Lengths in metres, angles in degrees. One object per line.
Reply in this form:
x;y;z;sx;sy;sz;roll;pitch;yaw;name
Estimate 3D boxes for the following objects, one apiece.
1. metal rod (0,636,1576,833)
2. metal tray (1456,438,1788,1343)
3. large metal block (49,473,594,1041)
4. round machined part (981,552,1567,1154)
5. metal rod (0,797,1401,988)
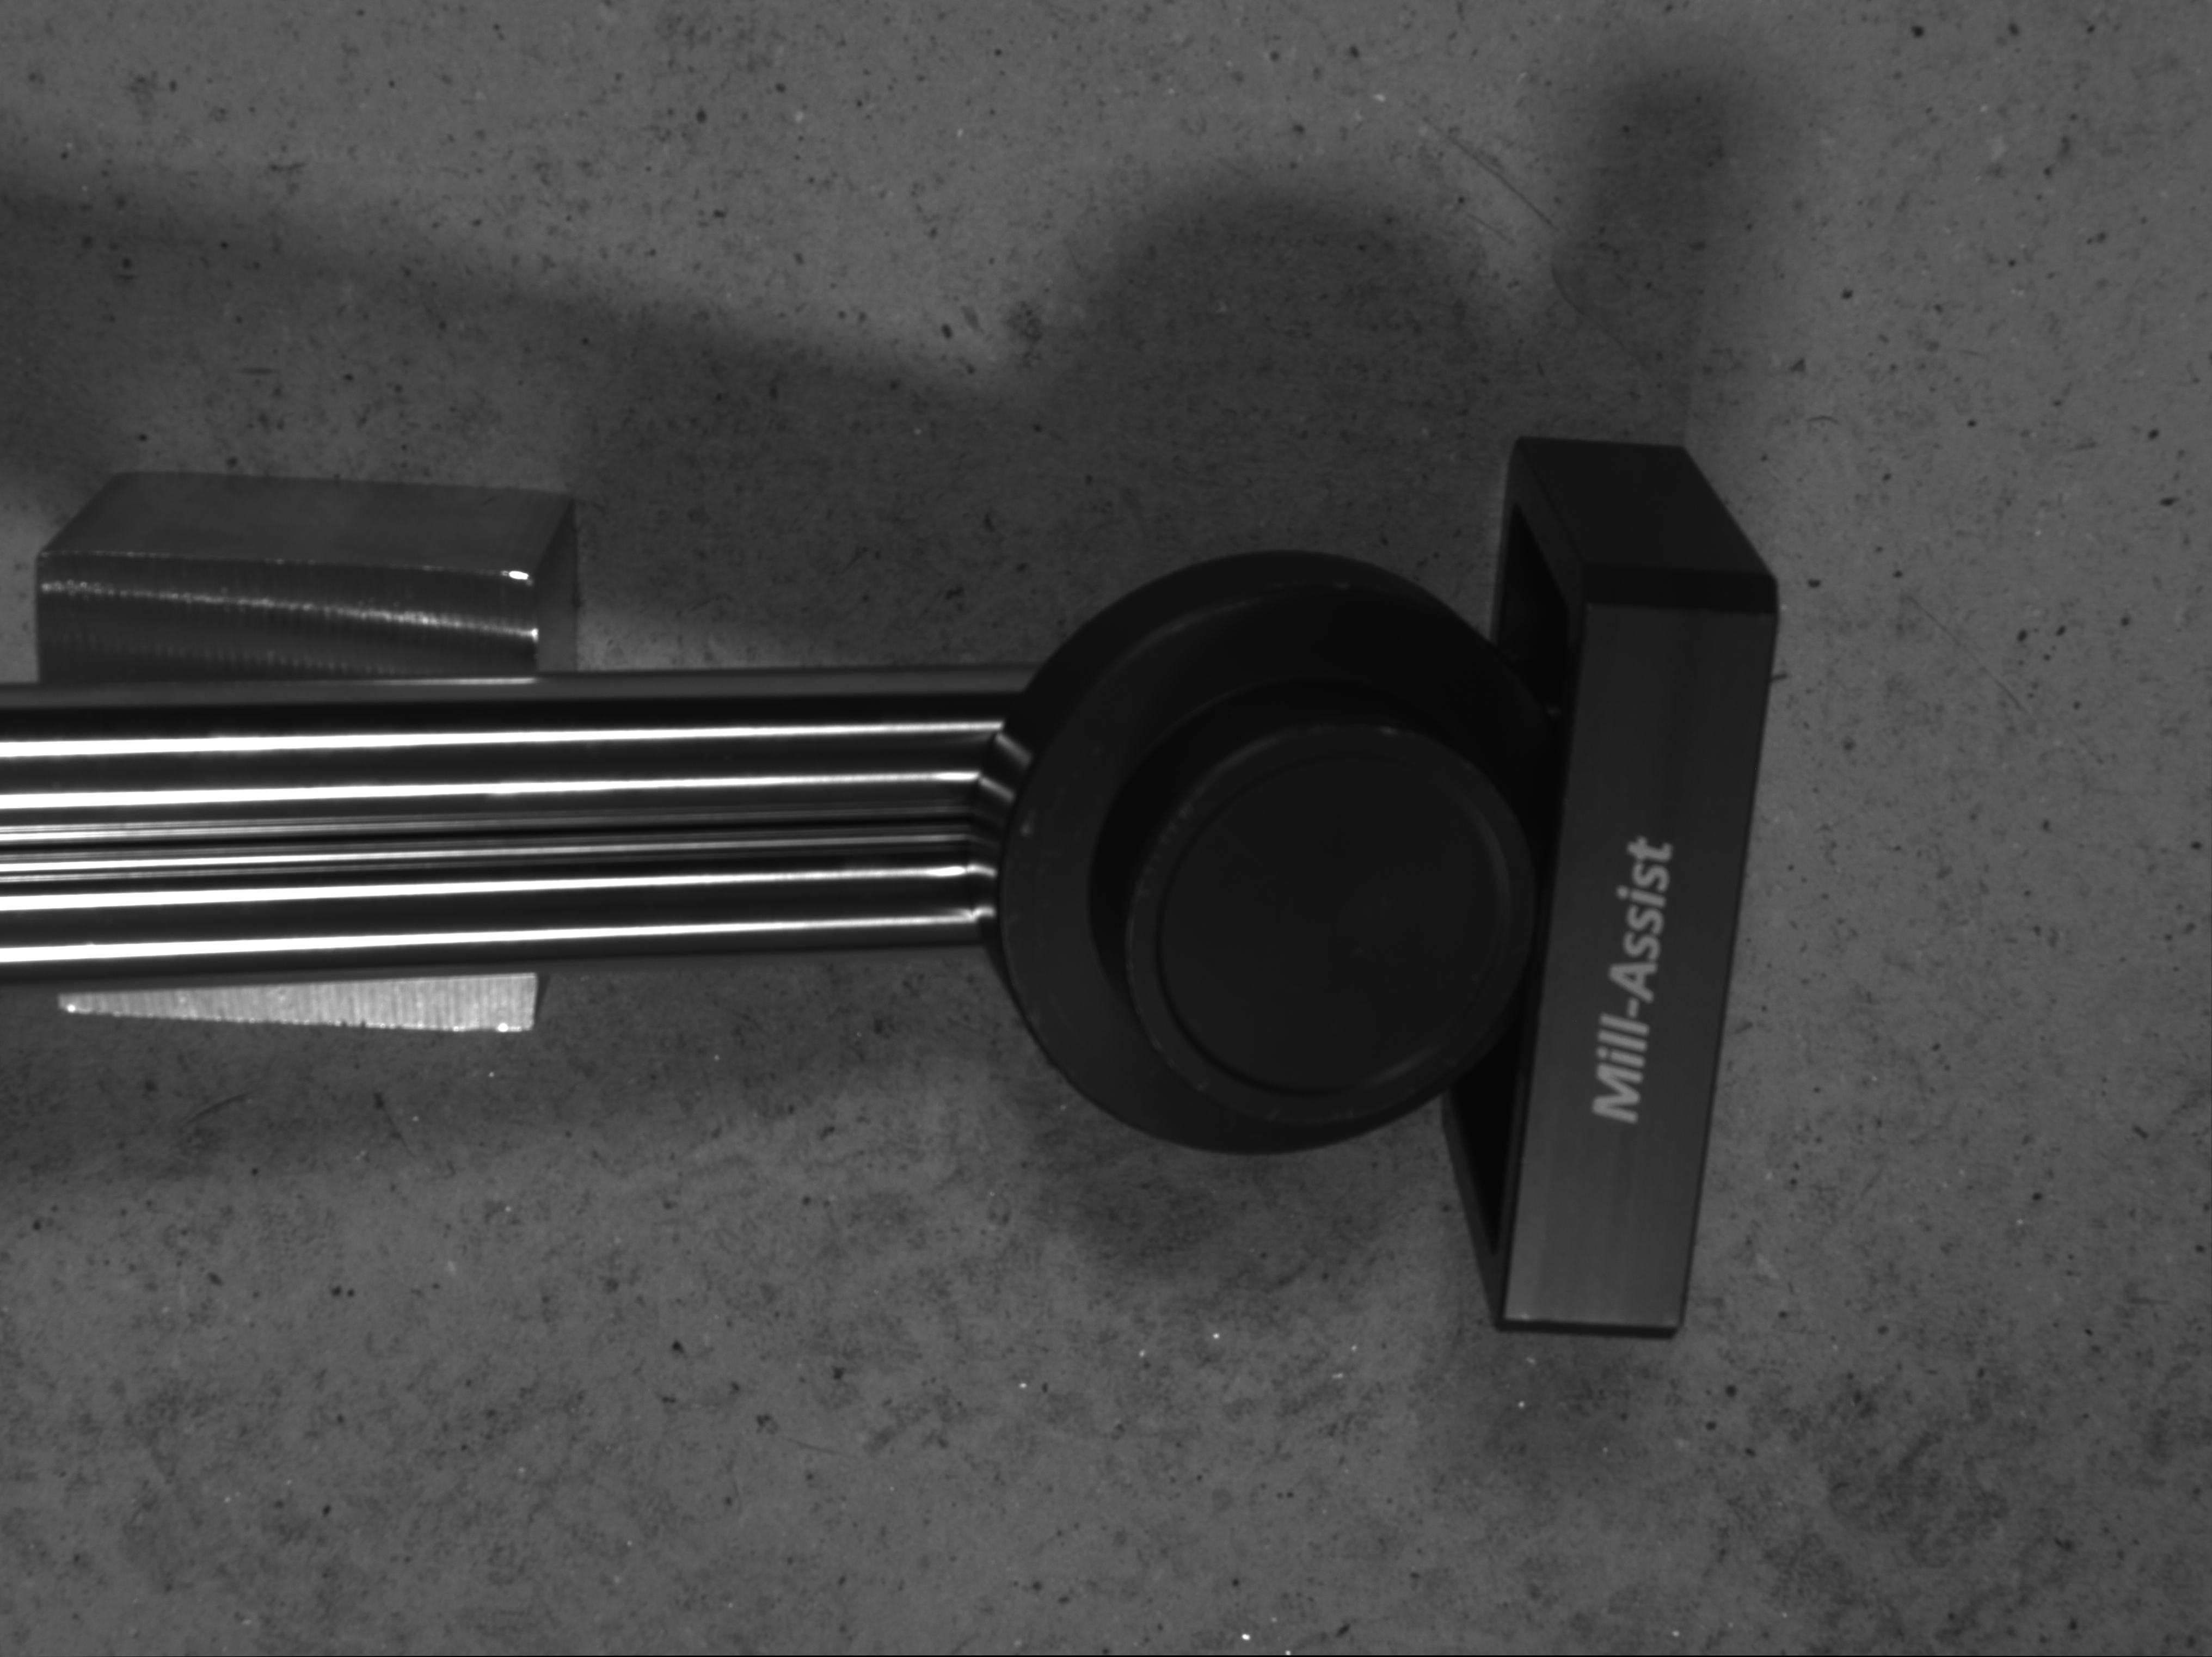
-0.067;-0.015;0.589;0.300;0.025;0.025;-2;110;-13;metal rod
0.083;0.009;0.612;0.030;0.090;0.130;3;110;-2;metal tray
-0.130;-0.013;0.620;0.080;0.050;0.080;3;110;-2;large metal block
0.031;0.009;0.586;0.098;0.042;0.098;-4;112;-10;round machined part
-0.069;0.010;0.598;0.300;0.025;0.025;-1;110;-14;metal rod
